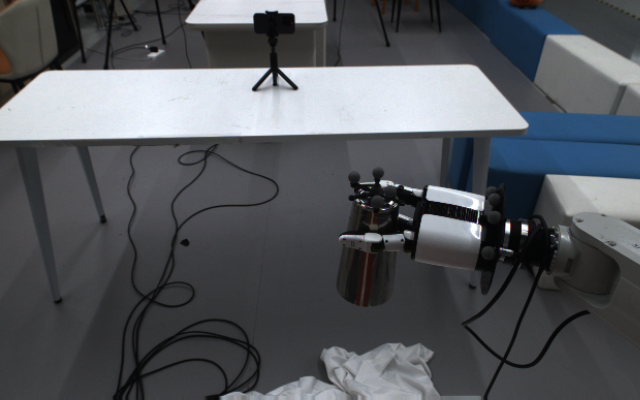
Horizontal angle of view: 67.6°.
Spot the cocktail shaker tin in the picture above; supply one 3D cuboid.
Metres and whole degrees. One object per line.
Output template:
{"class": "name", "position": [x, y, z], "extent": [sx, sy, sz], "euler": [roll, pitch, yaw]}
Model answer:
{"class": "cocktail shaker tin", "position": [0.079, 0.064, 0.737], "extent": [0.093, 0.170, 0.093], "euler": [2, 33, -2]}
